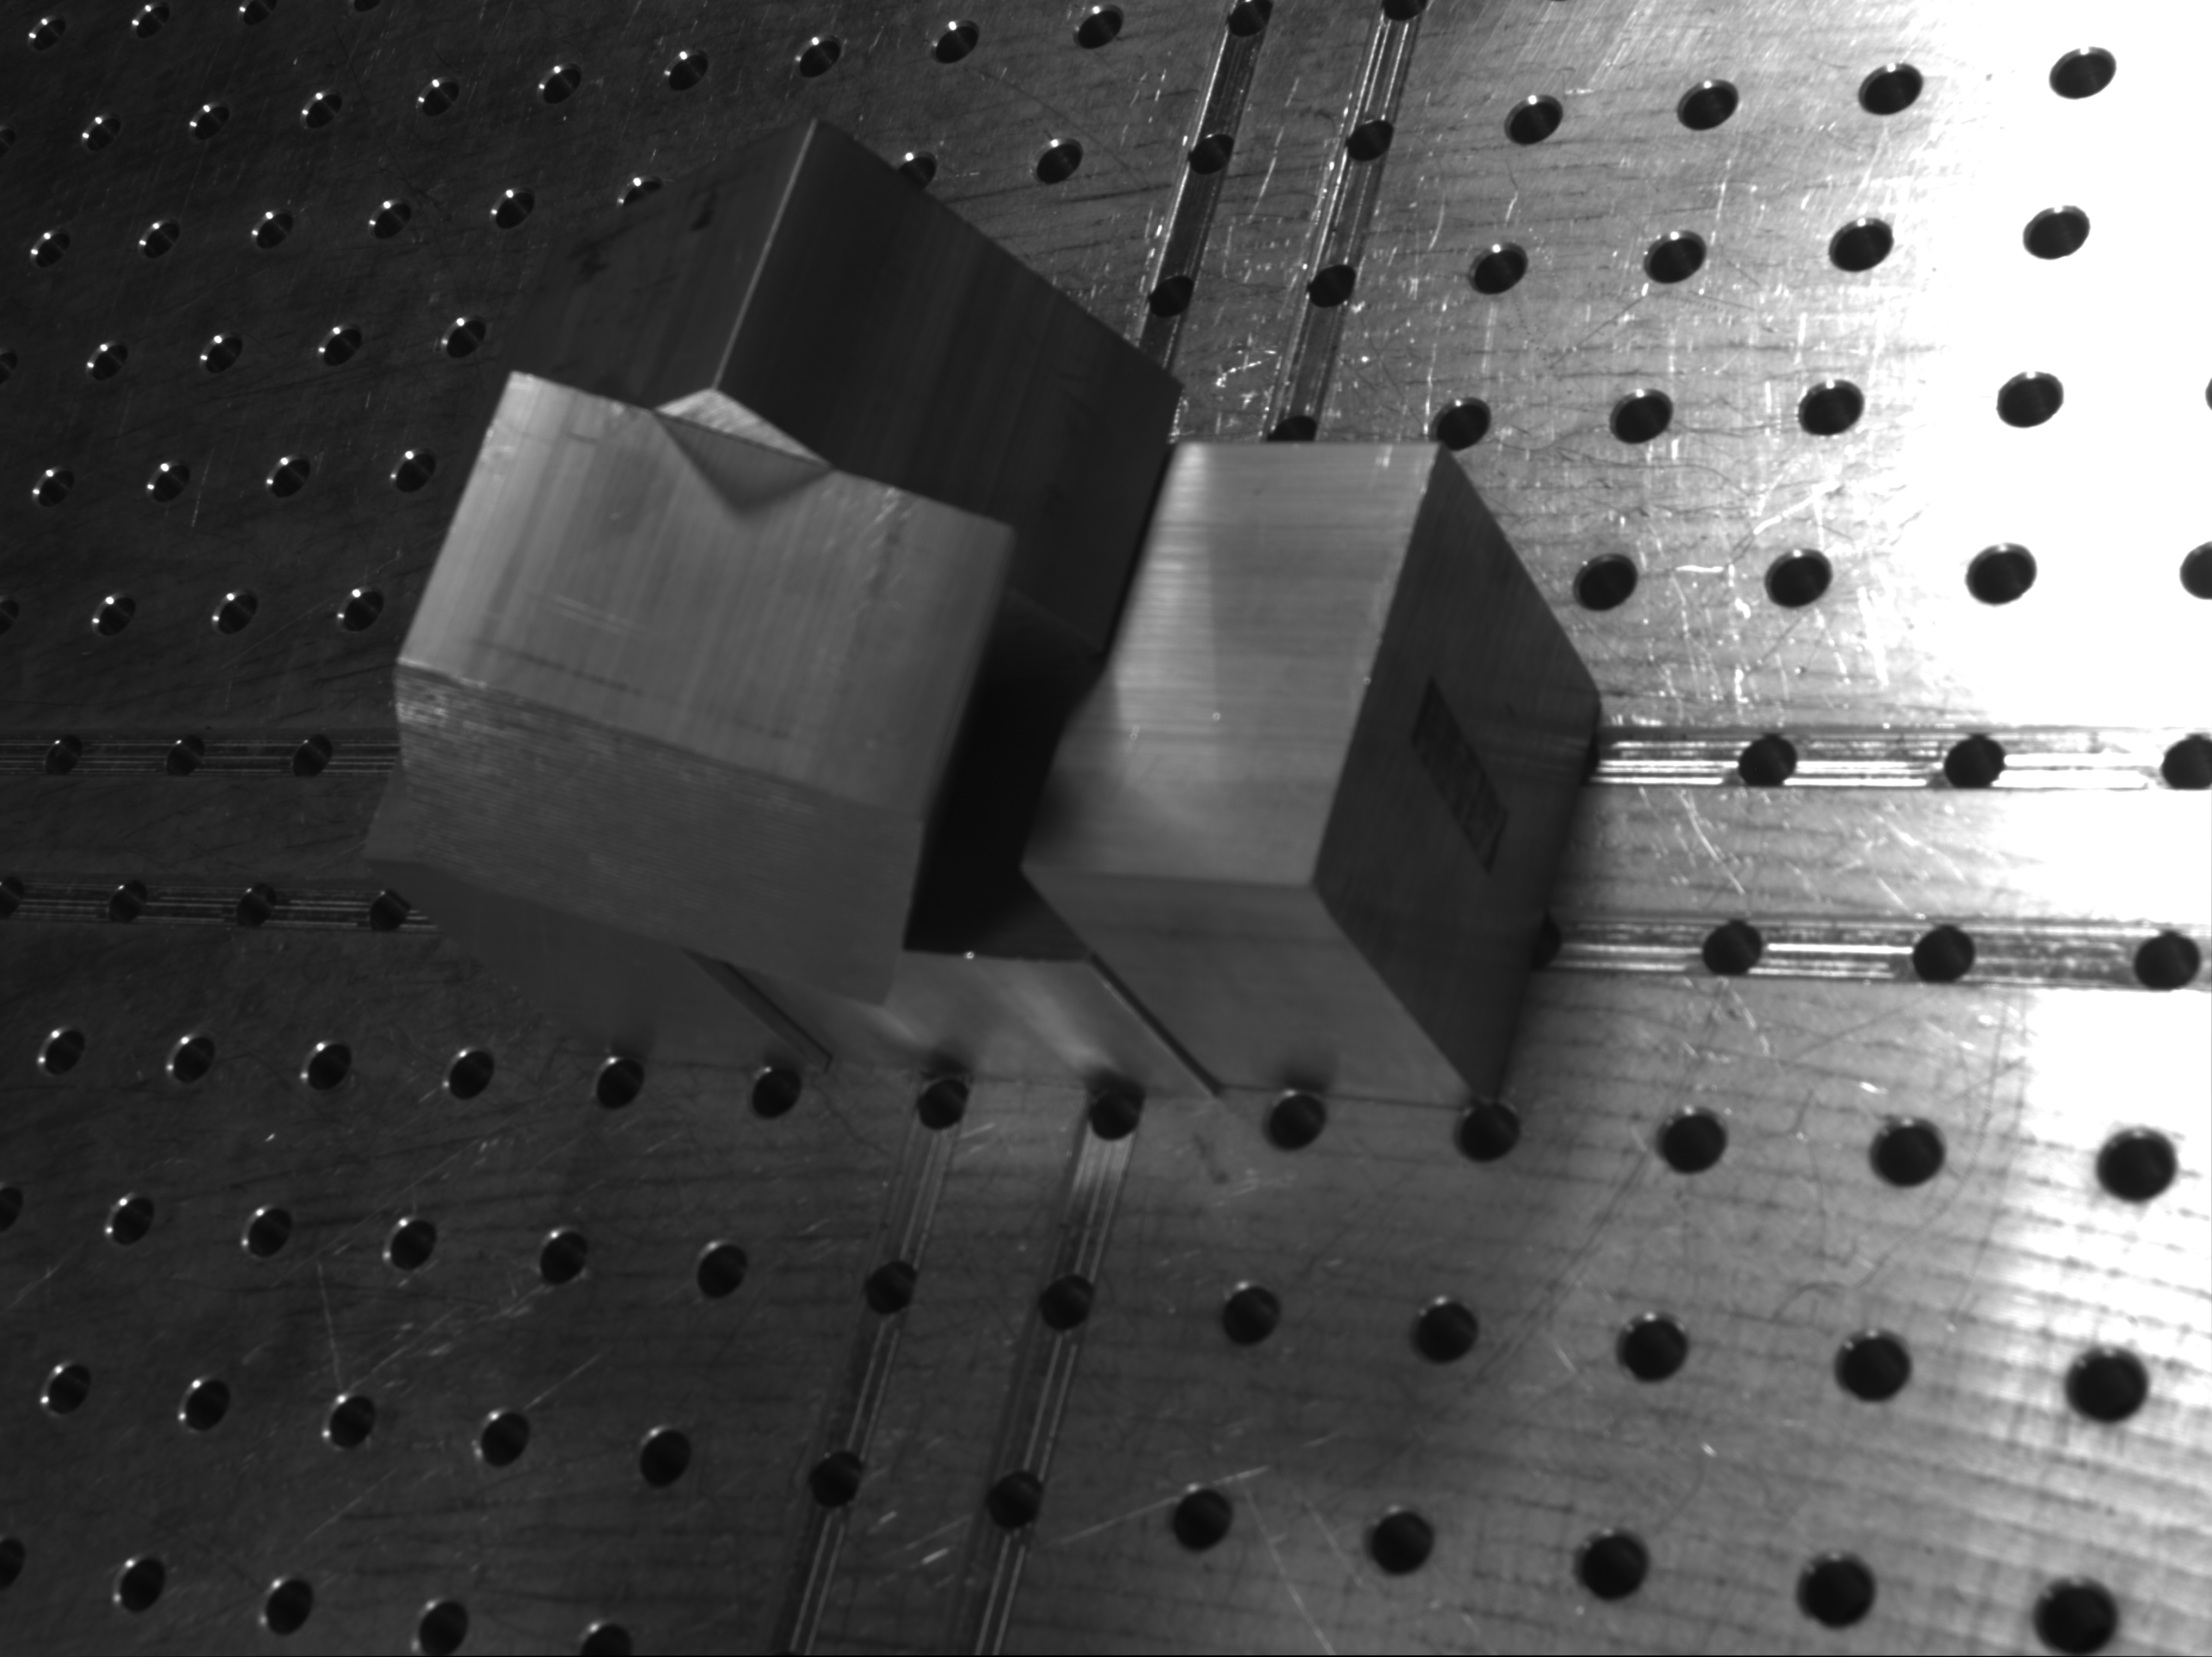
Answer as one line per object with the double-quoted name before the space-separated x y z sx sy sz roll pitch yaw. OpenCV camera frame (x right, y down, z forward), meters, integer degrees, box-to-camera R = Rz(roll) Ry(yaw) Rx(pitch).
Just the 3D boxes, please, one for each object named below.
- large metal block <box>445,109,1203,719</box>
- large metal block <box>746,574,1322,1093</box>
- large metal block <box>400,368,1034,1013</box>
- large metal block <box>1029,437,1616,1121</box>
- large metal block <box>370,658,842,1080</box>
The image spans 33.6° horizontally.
"large metal block" -0.045 -0.062 0.592 0.080 0.080 0.050 -13 52 49
"large metal block" -0.013 -0.004 0.638 0.080 0.050 0.080 3 63 30
"large metal block" -0.061 -0.019 0.570 0.080 0.080 0.050 17 66 0
"large metal block" 0.038 -0.008 0.596 0.050 0.080 0.080 4 63 30
"large metal block" -0.077 -0.009 0.659 0.050 0.080 0.080 2 62 29
